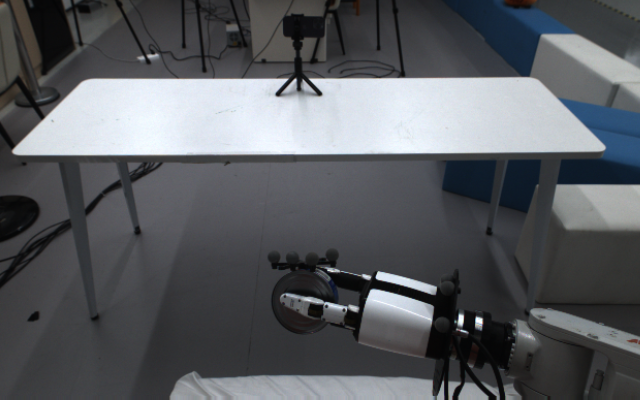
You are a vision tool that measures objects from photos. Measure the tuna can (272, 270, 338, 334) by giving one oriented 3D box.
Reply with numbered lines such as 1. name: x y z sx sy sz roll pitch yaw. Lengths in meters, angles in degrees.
1. tuna can: -0.017 0.137 0.640 0.085 0.085 0.034 10 3 11
